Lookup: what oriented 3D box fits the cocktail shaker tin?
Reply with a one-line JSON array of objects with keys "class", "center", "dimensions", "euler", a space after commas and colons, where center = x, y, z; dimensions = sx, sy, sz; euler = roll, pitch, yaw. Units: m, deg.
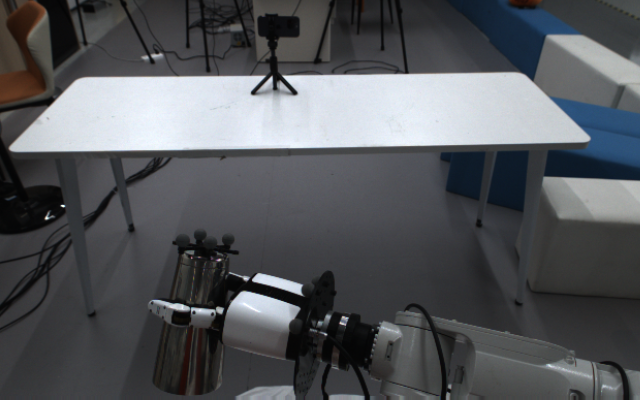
[{"class": "cocktail shaker tin", "center": [-0.162, 0.156, 0.640], "dimensions": [0.093, 0.170, 0.093], "euler": [8, 3, 0]}]
